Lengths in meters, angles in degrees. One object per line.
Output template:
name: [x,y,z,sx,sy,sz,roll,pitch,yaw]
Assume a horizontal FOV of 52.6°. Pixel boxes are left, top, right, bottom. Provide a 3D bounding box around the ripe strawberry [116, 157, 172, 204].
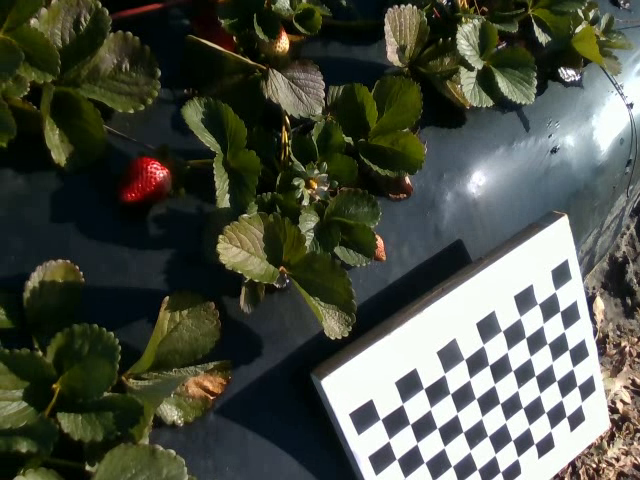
ripe strawberry: [-0.136,-0.043,0.489,0.044,0.042,0.056,4,40,41]
